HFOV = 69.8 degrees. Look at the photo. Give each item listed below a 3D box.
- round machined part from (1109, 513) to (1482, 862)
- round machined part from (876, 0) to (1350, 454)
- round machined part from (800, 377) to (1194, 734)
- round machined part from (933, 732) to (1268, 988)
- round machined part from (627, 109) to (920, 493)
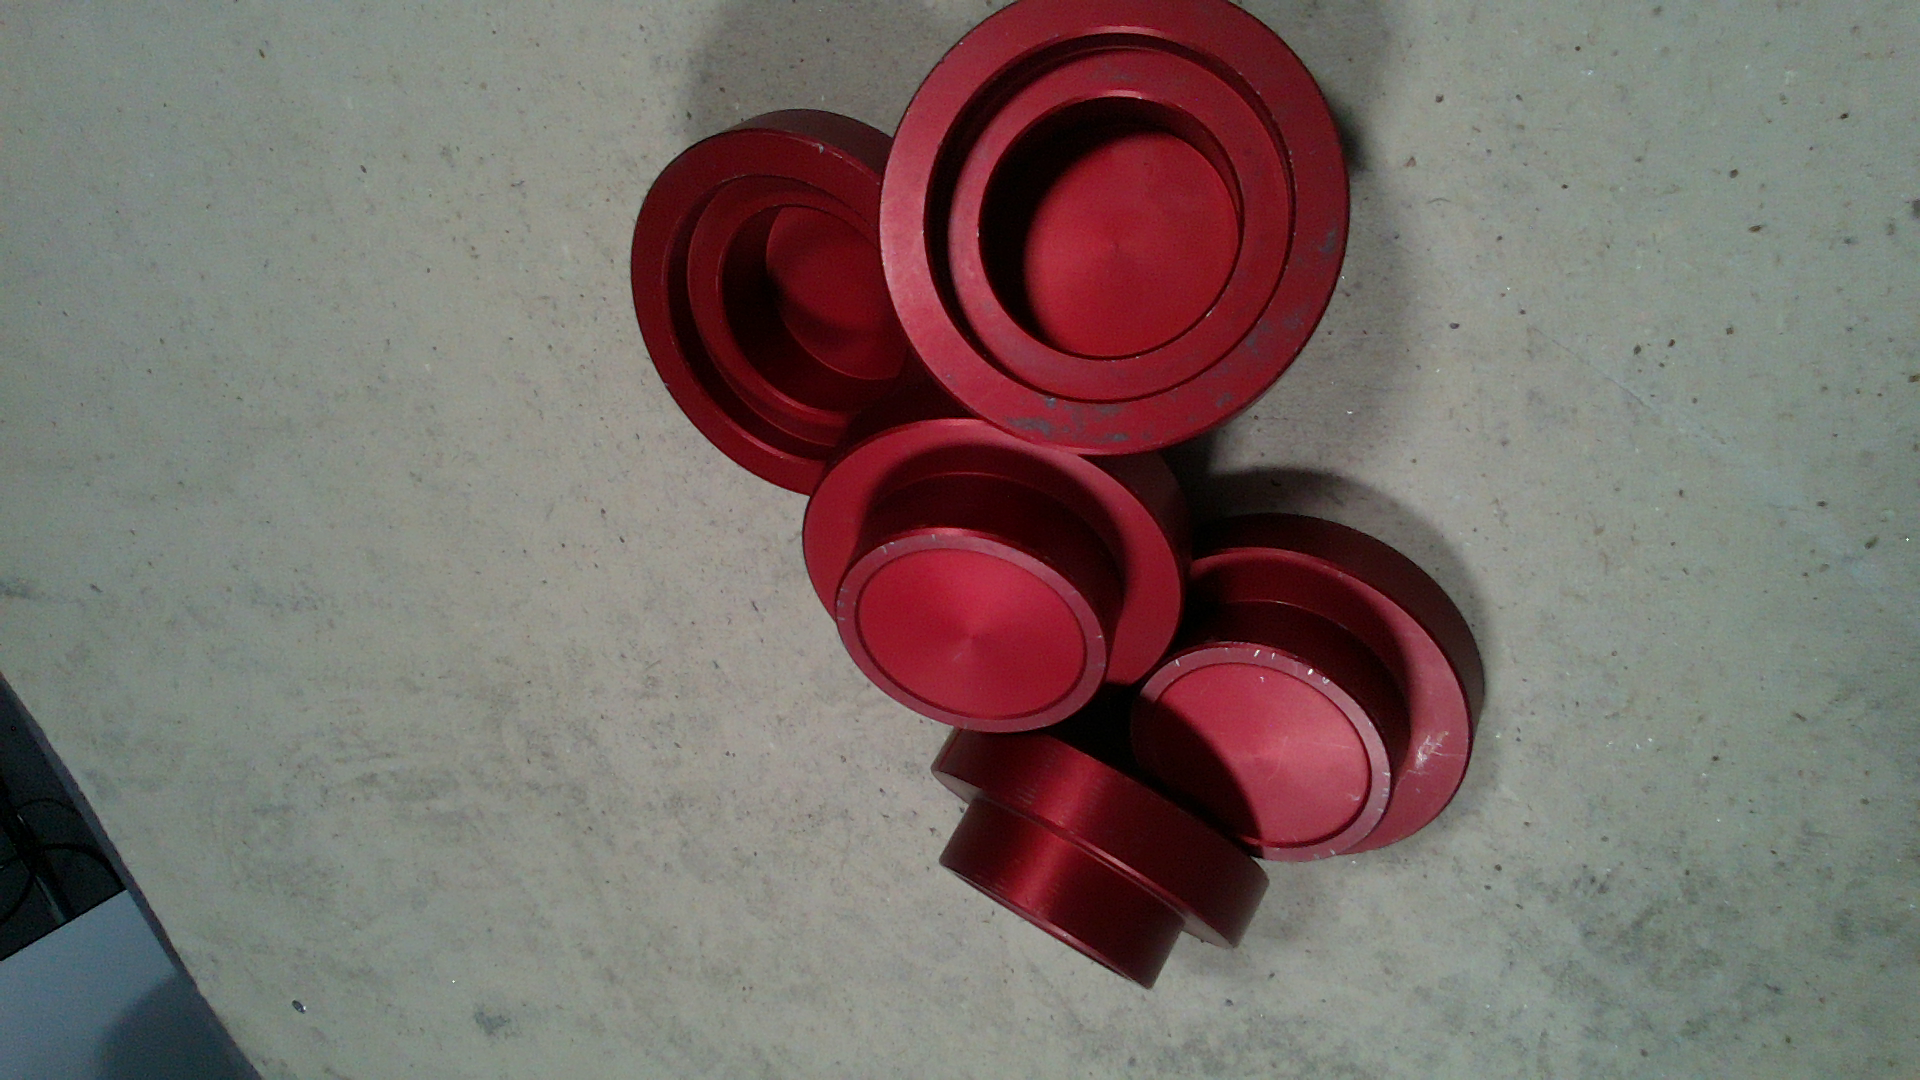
[{"bbox_3d":[0.084,0.045,0.365,0.098,0.042,0.098,13,124,21],"label":"round machined part"},{"bbox_3d":[0.034,-0.068,0.304,0.098,0.042,0.098,0,92,11],"label":"round machined part"},{"bbox_3d":[0.007,0.010,0.342,0.098,0.042,0.098,9,131,11],"label":"round machined part"},{"bbox_3d":[0.033,0.090,0.388,0.098,0.042,0.098,29,167,8],"label":"round machined part"},{"bbox_3d":[-0.035,-0.063,0.361,0.098,0.042,0.098,13,124,21],"label":"round machined part"}]
